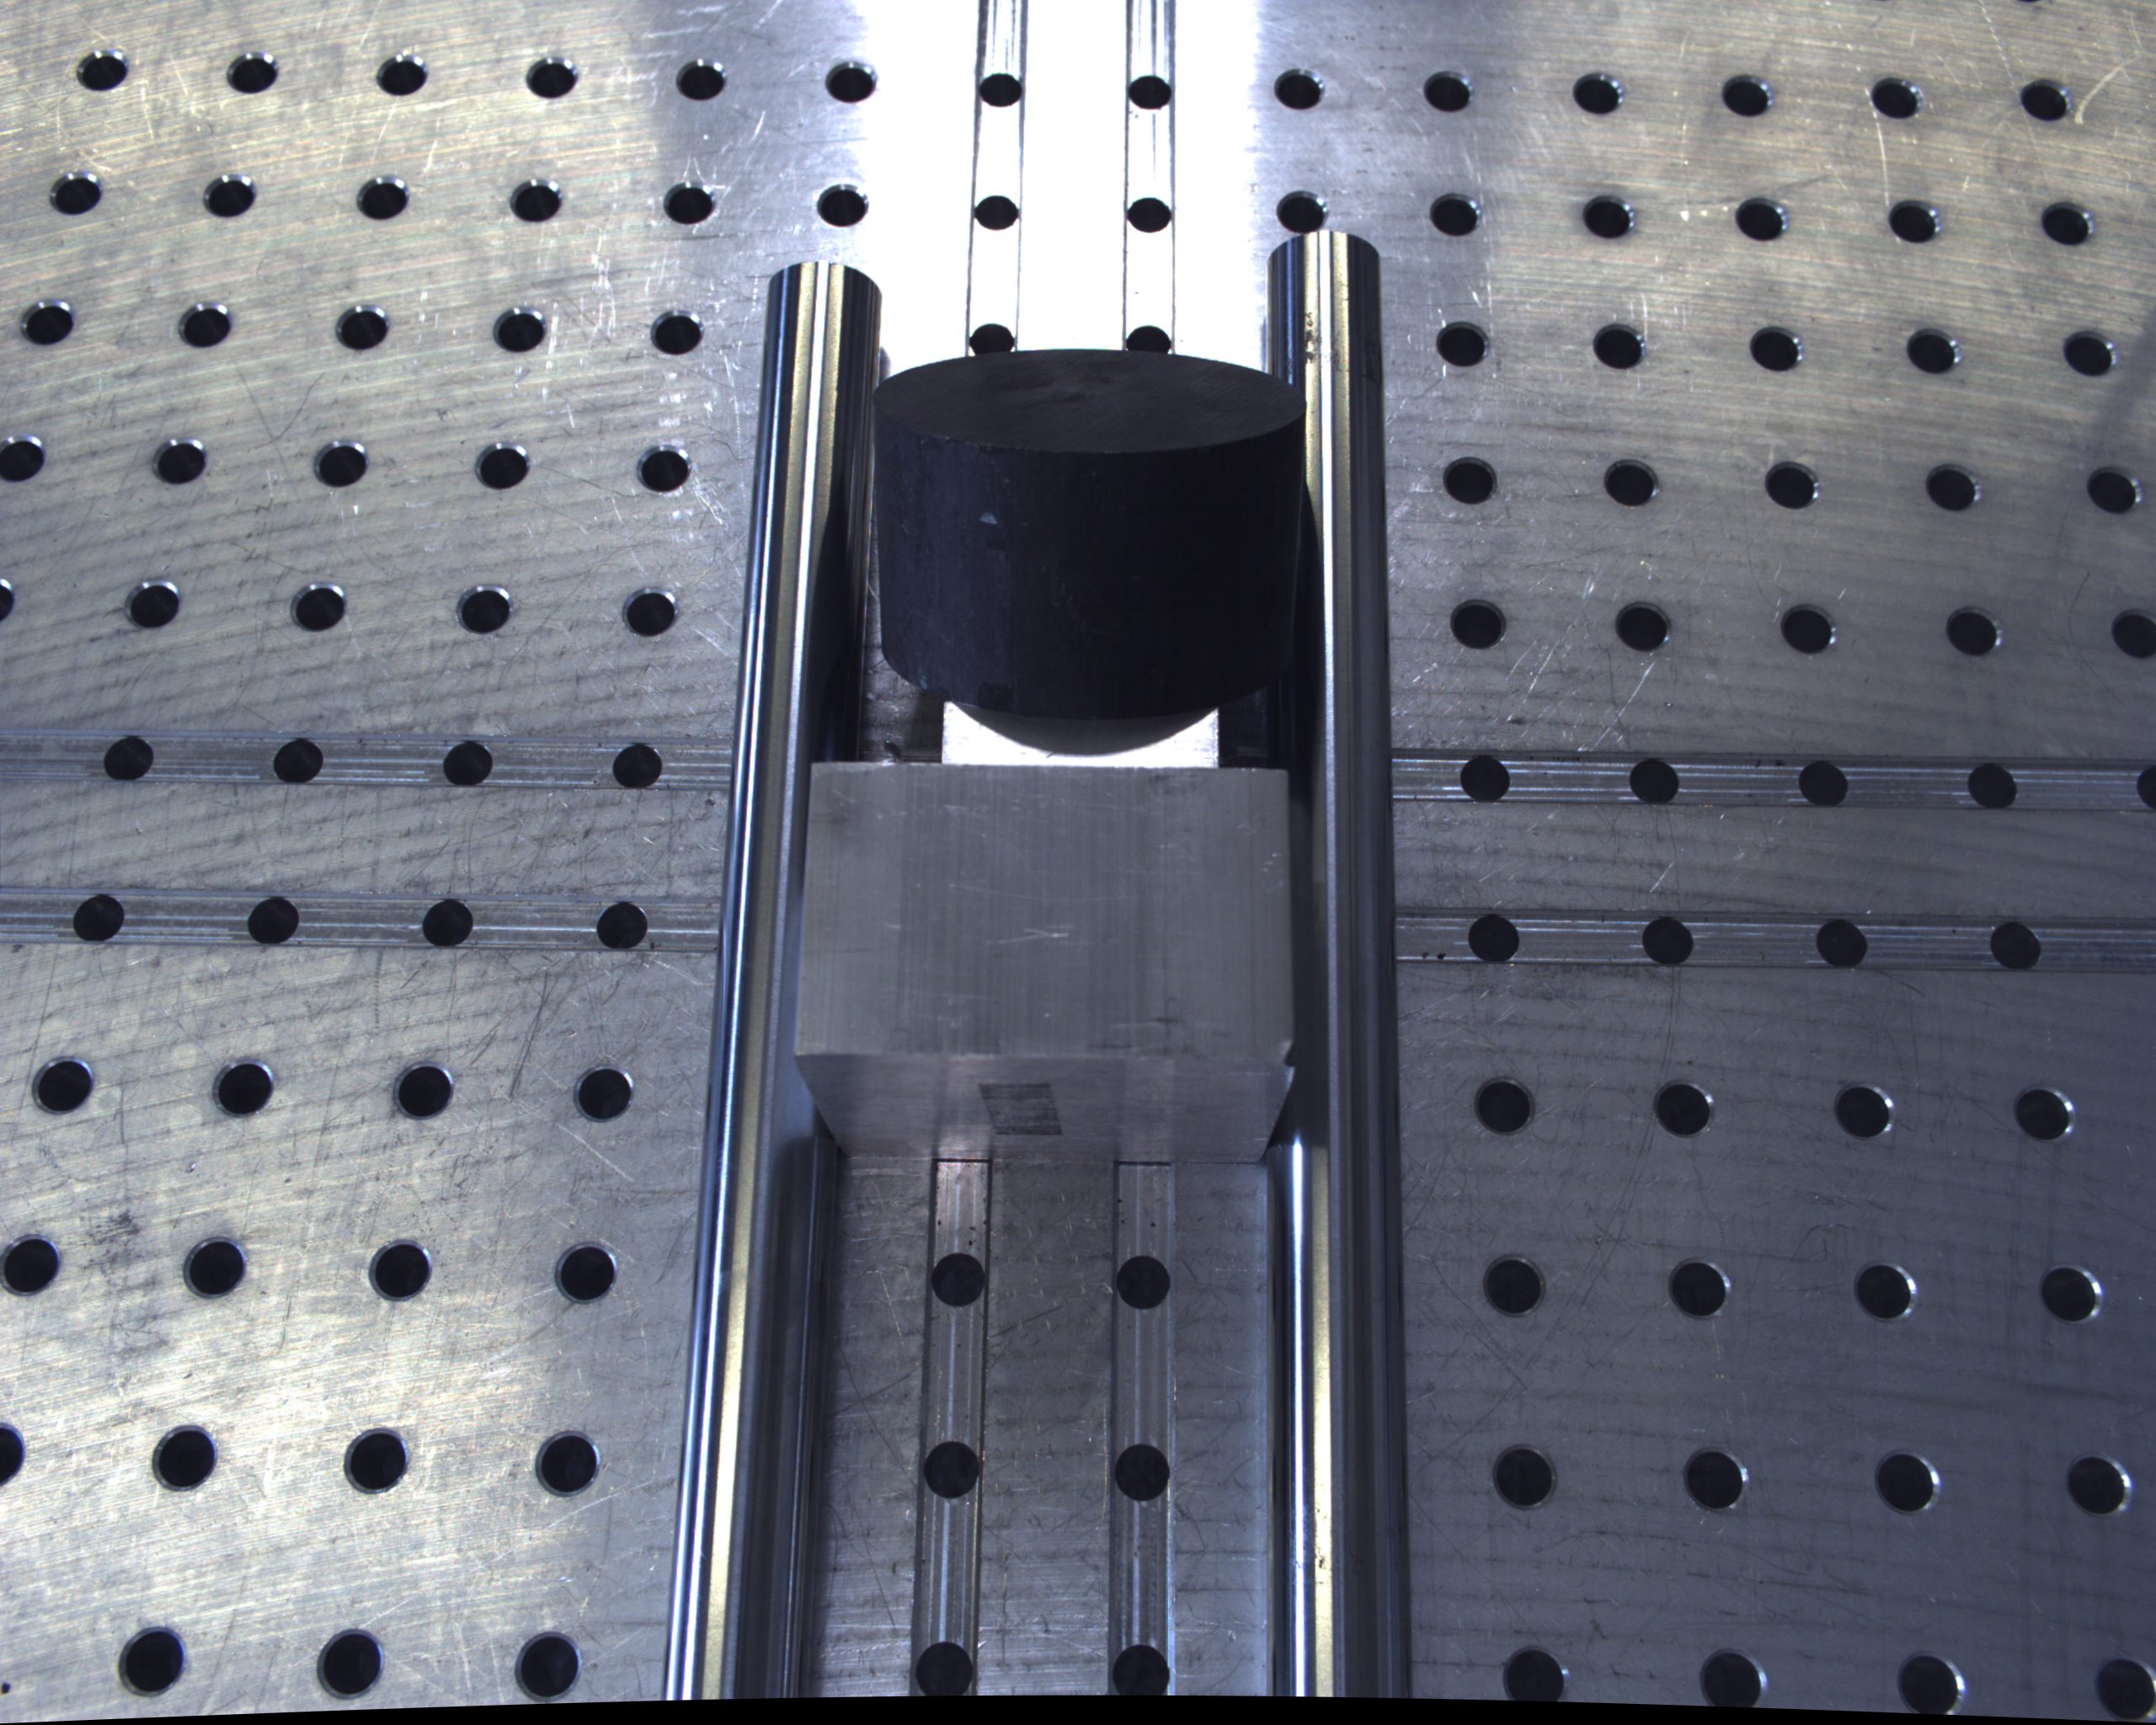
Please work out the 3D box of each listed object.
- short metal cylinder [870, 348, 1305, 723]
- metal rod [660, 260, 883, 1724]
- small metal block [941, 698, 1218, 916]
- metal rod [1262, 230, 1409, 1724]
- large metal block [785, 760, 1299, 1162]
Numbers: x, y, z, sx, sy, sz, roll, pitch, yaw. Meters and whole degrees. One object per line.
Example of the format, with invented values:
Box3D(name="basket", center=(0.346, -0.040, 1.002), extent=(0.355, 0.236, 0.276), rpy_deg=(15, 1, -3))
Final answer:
Box3D(name="short metal cylinder", center=(0.001, -0.065, 0.399), extent=(0.081, 0.050, 0.080), rpy_deg=(1, 26, 0))
Box3D(name="metal rod", center=(-0.057, 0.016, 0.405), extent=(0.025, 0.025, 0.299), rpy_deg=(1, 70, 0))
Box3D(name="small metal block", center=(0.000, -0.009, 0.402), extent=(0.050, 0.050, 0.025), rpy_deg=(1, 70, 0))
Box3D(name="metal rod", center=(0.049, 0.009, 0.409), extent=(0.025, 0.025, 0.299), rpy_deg=(2, 70, 0))
Box3D(name="large metal block", center=(-0.005, 0.020, 0.372), extent=(0.081, 0.080, 0.050), rpy_deg=(1, 70, 0))
